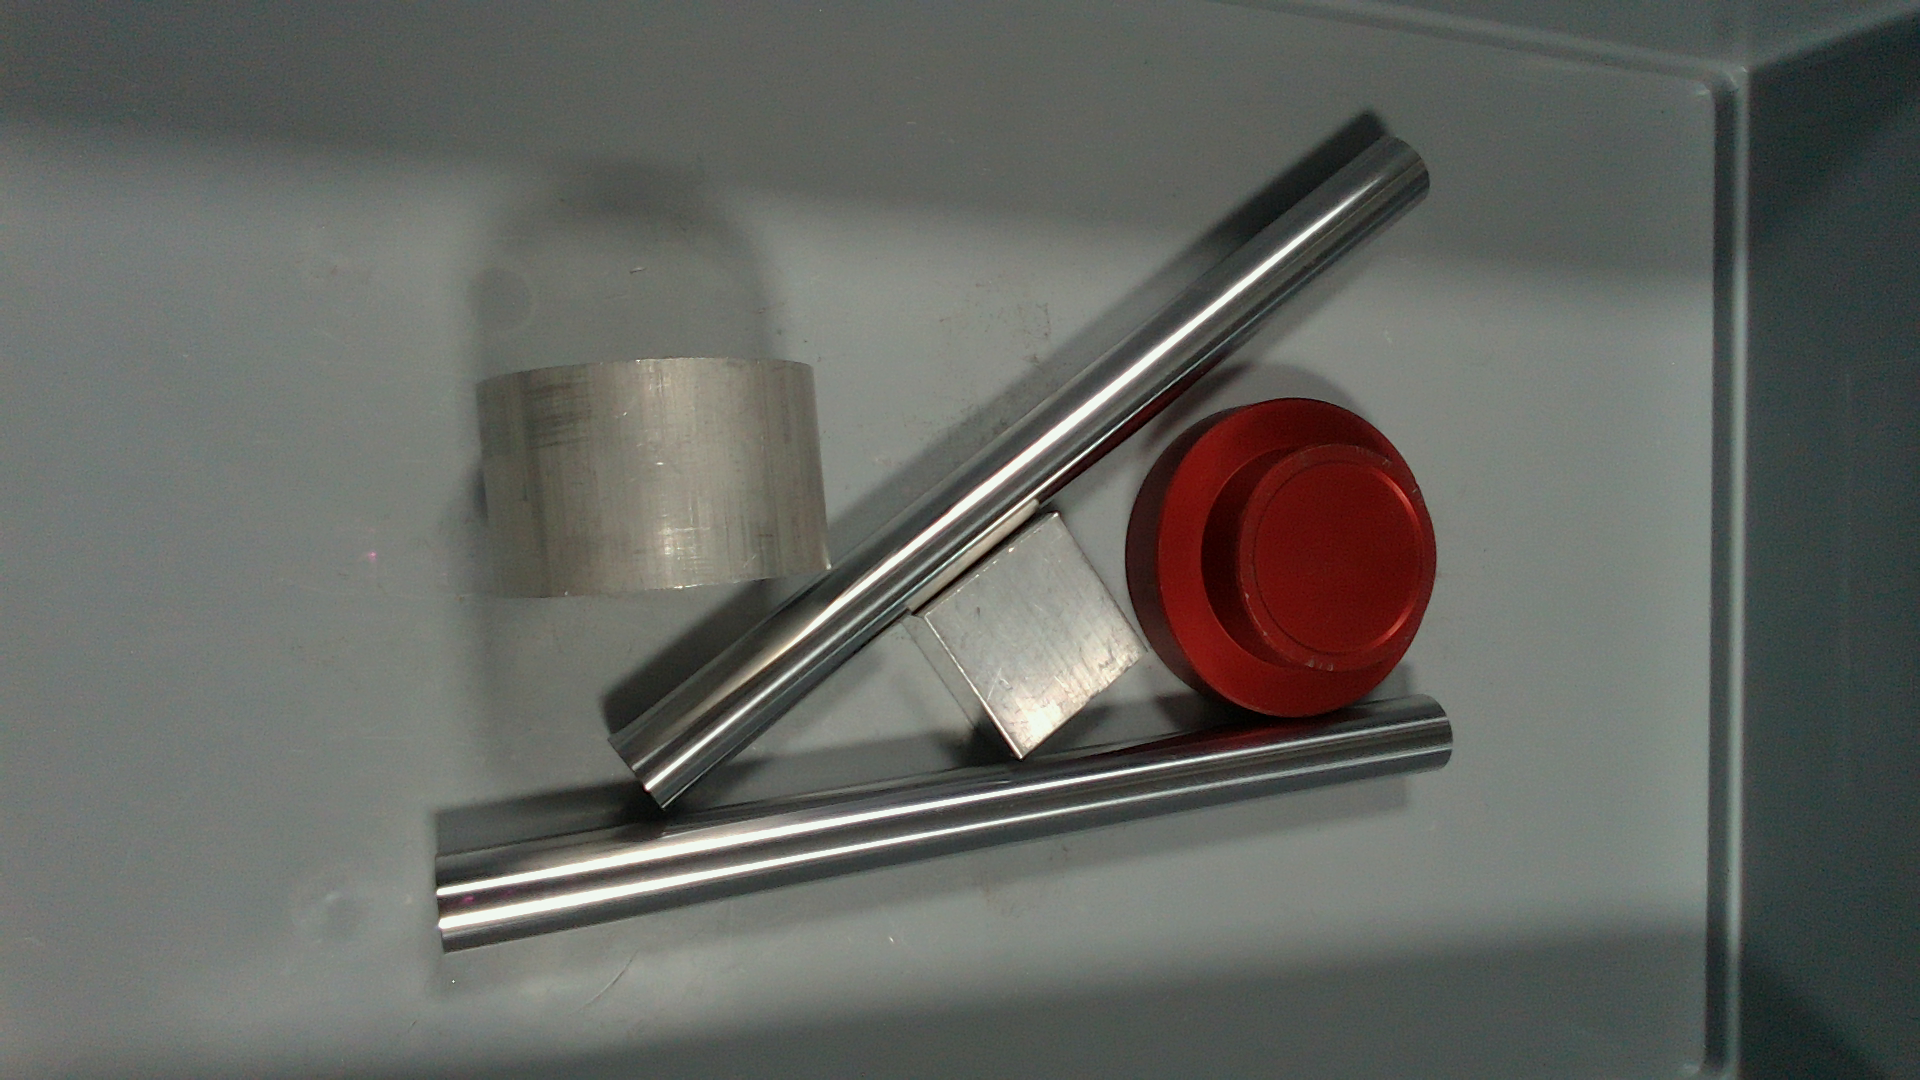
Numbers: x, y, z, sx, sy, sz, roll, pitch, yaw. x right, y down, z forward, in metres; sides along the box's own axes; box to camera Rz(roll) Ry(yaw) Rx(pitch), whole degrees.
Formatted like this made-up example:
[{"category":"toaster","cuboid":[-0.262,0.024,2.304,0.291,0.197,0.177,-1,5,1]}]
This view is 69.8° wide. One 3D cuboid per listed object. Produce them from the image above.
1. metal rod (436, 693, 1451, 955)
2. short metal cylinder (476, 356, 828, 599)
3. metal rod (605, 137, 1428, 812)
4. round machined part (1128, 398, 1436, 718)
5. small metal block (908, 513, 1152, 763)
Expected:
[{"category":"metal rod","cuboid":[0.011,0.077,0.396,0.301,0.025,0.025,-6,92,-20]},{"category":"short metal cylinder","cuboid":[-0.074,-0.015,0.337,0.080,0.080,0.050,-5,92,-20]},{"category":"metal rod","cuboid":[0.027,-0.028,0.402,0.301,0.025,0.025,-39,102,-16]},{"category":"round machined part","cuboid":[0.104,0.005,0.420,0.098,0.042,0.098,0,90,-20]},{"category":"small metal block","cuboid":[0.019,0.027,0.398,0.050,0.025,0.050,-37,102,-16]}]
